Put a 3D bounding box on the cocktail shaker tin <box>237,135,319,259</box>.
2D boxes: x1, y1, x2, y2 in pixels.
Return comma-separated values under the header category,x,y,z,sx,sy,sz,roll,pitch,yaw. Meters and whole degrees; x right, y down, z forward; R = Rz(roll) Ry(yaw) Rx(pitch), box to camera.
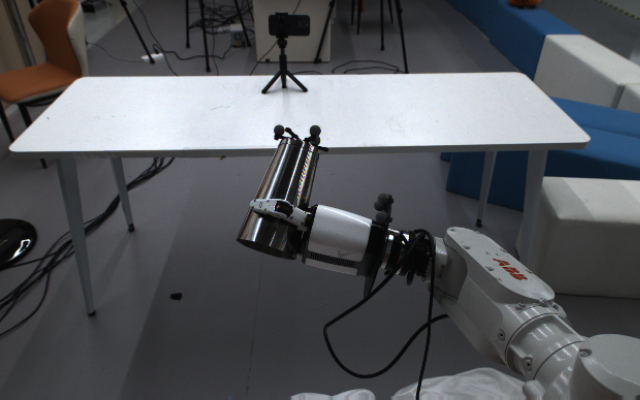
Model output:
category,x,y,z,sx,sy,sz,roll,pitch,yaw
cocktail shaker tin,-0.057,-0.004,0.735,0.093,0.093,0.170,13,73,15
